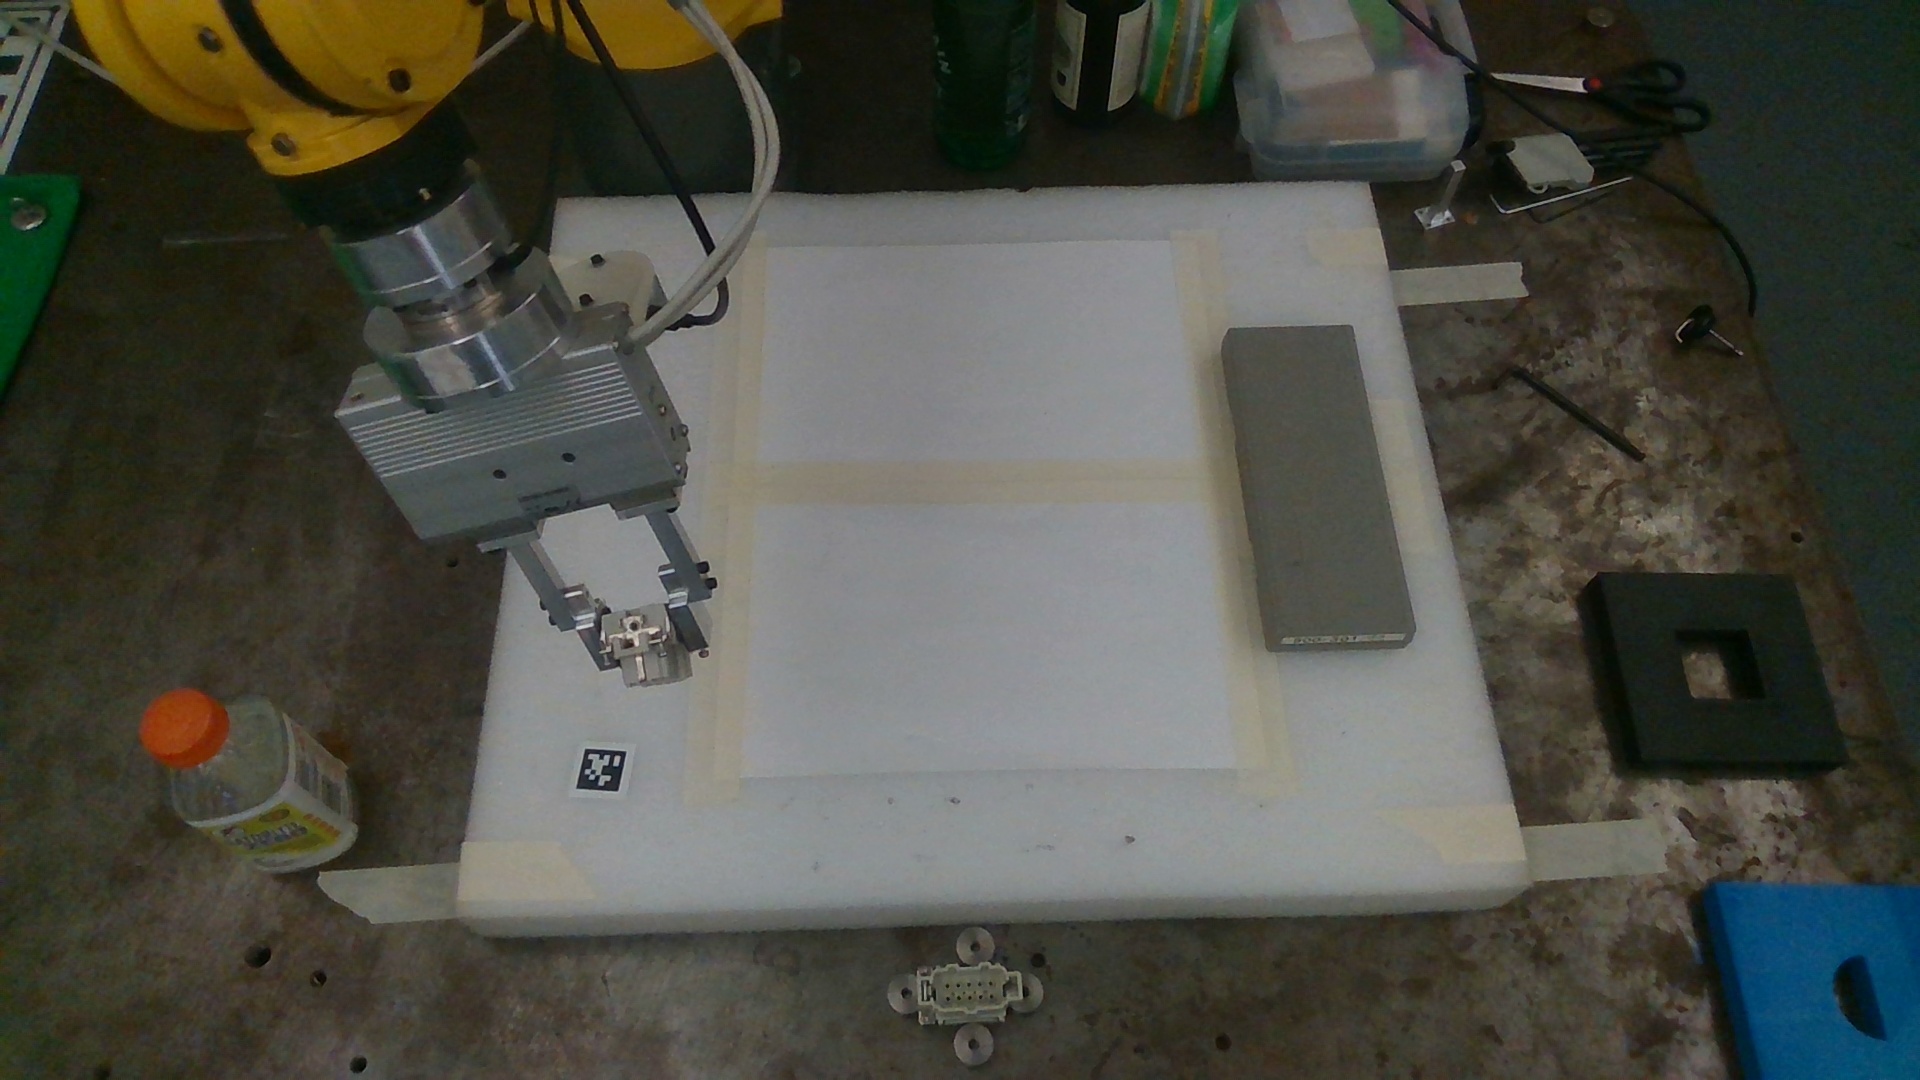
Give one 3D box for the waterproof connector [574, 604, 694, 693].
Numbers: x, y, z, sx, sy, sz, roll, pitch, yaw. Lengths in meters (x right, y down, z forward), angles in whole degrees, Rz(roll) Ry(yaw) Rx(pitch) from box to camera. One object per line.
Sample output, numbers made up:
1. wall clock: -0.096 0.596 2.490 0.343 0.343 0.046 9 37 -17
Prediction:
1. waterproof connector: -0.159 0.053 0.680 0.037 0.069 0.038 -10 83 10
